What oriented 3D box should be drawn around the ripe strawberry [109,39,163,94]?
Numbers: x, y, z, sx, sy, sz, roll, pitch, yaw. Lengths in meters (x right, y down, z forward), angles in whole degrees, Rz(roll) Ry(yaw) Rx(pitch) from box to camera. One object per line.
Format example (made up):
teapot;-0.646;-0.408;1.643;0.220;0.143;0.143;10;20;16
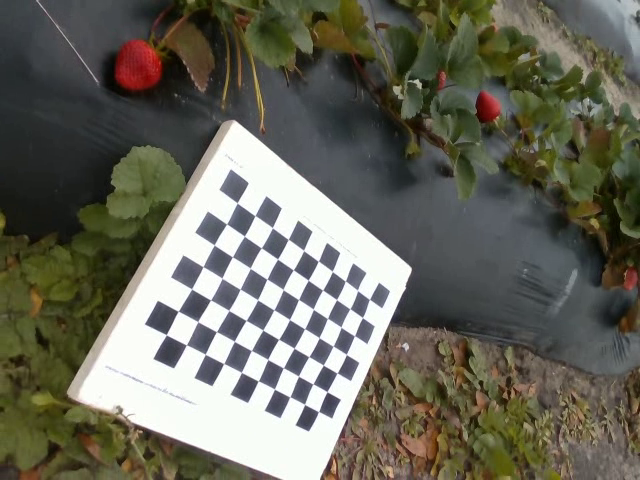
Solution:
ripe strawberry;-0.101;-0.095;0.318;0.022;0.033;0.029;-2;-46;54
